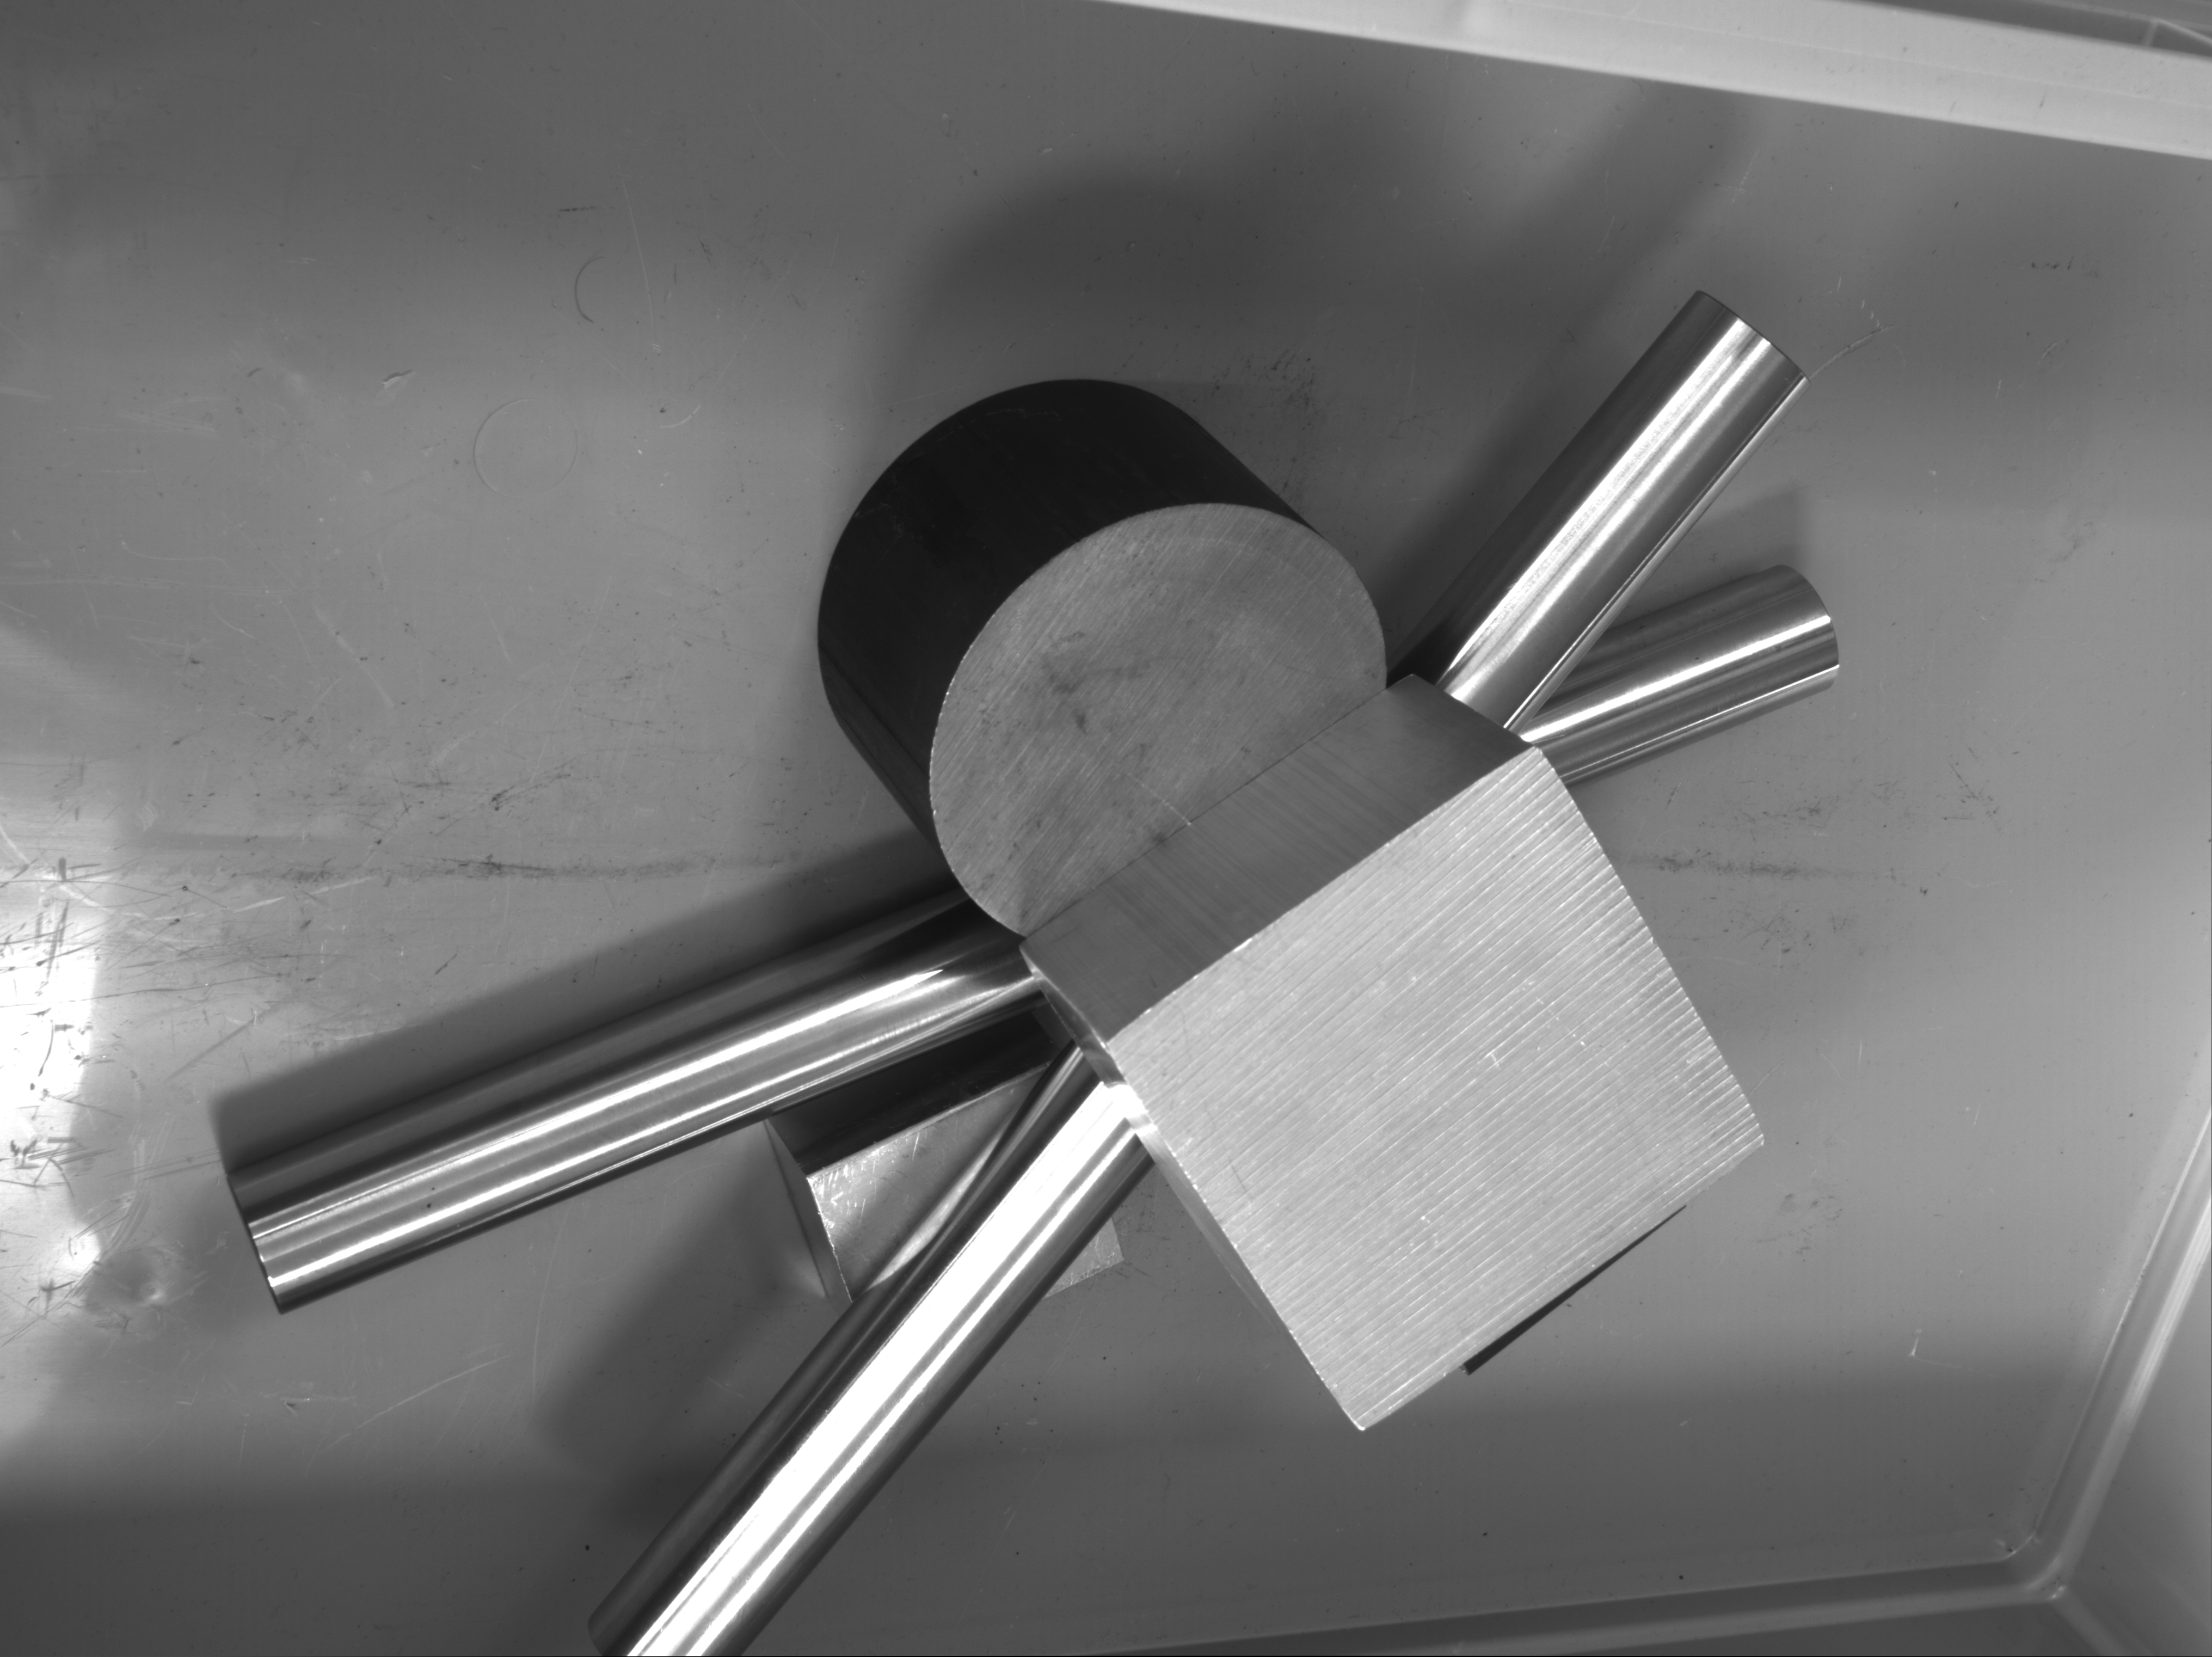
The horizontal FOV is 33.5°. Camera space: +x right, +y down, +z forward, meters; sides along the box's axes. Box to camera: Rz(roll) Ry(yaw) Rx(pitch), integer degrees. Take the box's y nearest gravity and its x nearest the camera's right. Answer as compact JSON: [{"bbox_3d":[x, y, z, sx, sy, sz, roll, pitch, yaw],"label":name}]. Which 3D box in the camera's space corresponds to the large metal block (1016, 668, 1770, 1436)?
[{"bbox_3d":[0.045,0.034,0.584,0.080,0.050,0.080,-34,111,-5],"label":"large metal block"}]

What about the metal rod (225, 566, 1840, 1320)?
[{"bbox_3d":[-0.005,0.016,0.643,0.300,0.025,0.025,-22,126,-15],"label":"metal rod"}]

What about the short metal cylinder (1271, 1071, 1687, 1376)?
[{"bbox_3d":[0.060,0.052,0.665,0.050,0.080,0.080,-37,129,-3],"label":"short metal cylinder"}]

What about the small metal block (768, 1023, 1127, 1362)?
[{"bbox_3d":[-0.029,0.064,0.660,0.050,0.025,0.050,-25,127,-13],"label":"small metal block"}]

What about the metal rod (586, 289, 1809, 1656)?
[{"bbox_3d":[0.013,0.033,0.631,0.025,0.025,0.300,34,99,-38],"label":"metal rod"}]

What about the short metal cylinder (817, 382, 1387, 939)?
[{"bbox_3d":[-0.001,-0.027,0.603,0.080,0.050,0.080,-13,124,-21],"label":"short metal cylinder"}]
